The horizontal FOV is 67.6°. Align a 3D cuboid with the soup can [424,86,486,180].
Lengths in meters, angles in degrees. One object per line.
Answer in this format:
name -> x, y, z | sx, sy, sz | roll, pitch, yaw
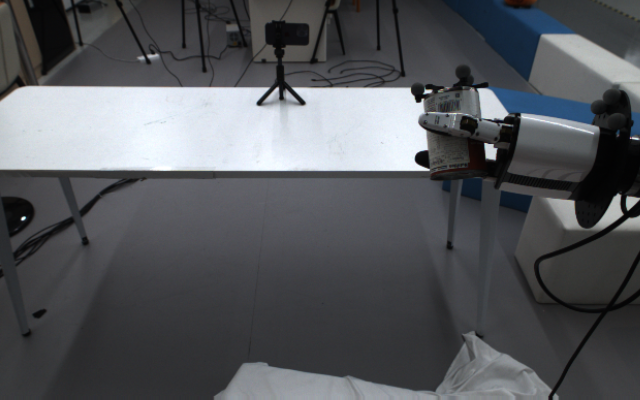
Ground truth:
soup can -> 0.165, -0.080, 0.591 | 0.067, 0.101, 0.067 | -5, -5, 0
